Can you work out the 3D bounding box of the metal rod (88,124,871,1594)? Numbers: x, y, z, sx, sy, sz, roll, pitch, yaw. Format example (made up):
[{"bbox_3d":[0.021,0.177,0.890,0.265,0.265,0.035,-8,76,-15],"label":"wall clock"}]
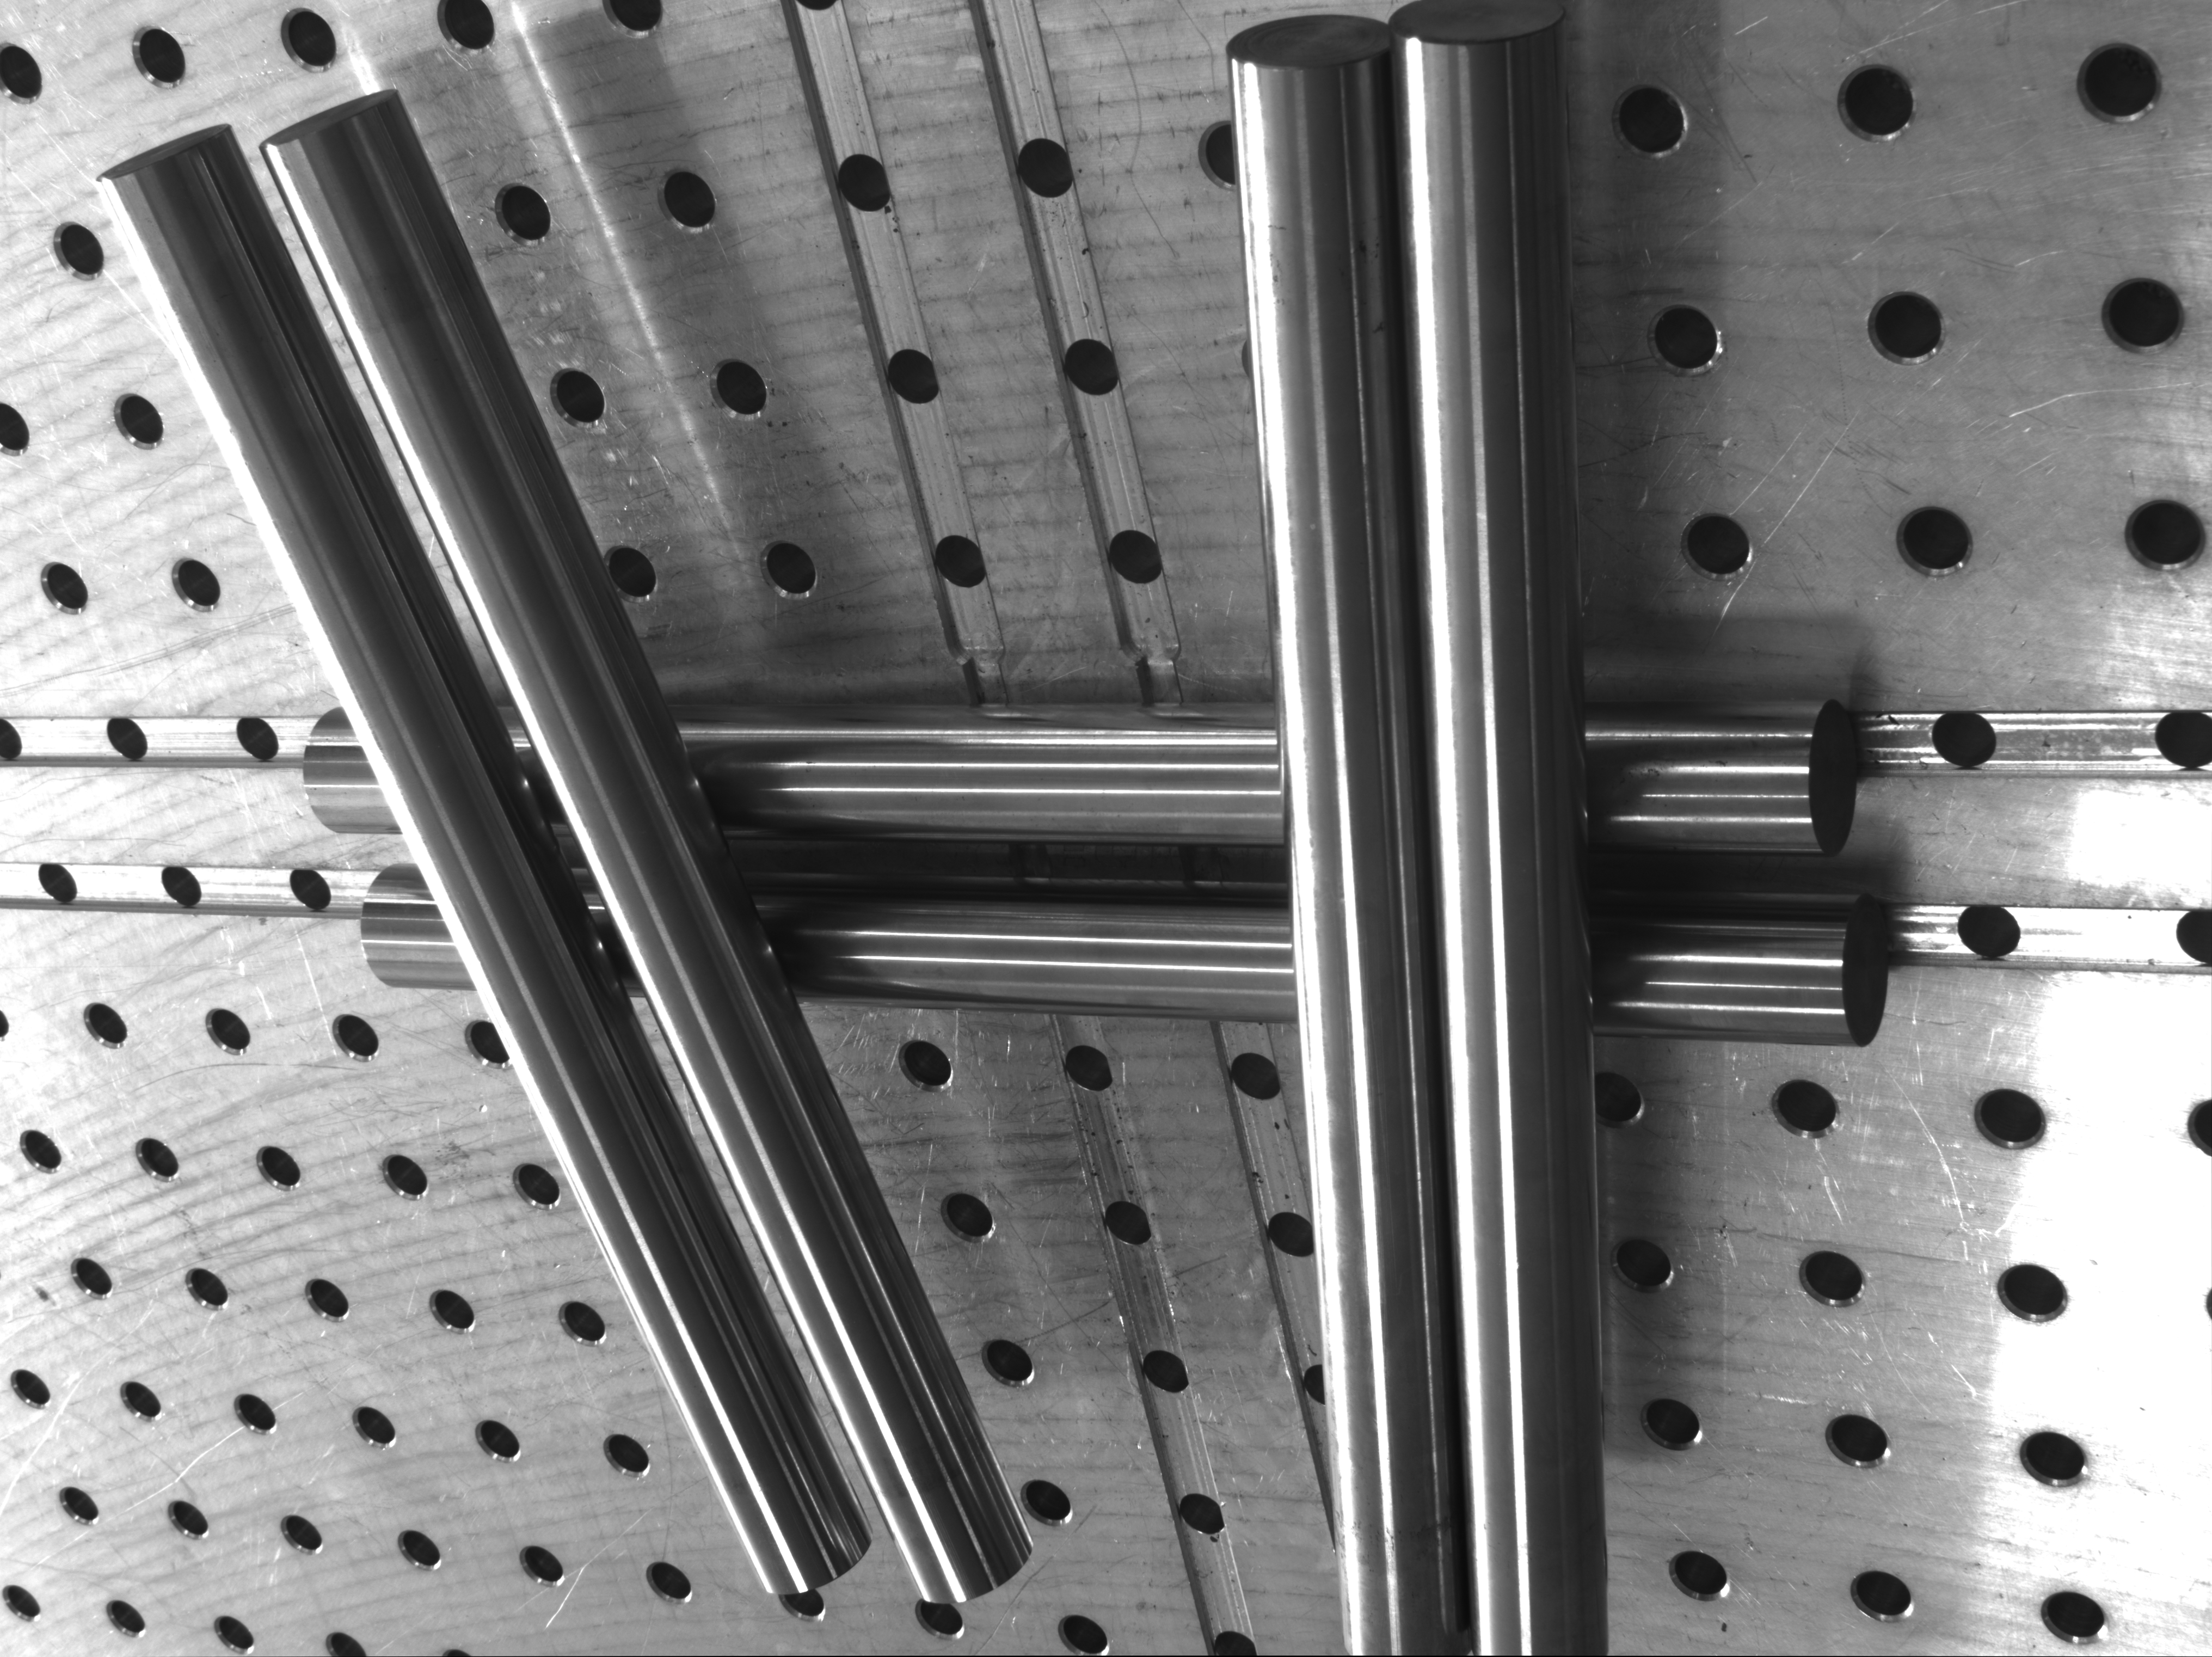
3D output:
[{"bbox_3d":[-0.111,0.015,0.683,0.025,0.025,0.300,-8,114,32],"label":"metal rod"}]

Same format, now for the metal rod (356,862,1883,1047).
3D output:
[{"bbox_3d":[-0.010,0.021,0.665,0.299,0.025,0.025,1,119,28],"label":"metal rod"}]

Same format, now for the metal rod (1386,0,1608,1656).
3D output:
[{"bbox_3d":[0.065,0.016,0.590,0.025,0.025,0.300,9,122,24],"label":"metal rod"}]

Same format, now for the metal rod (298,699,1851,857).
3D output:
[{"bbox_3d":[-0.018,-0.010,0.651,0.299,0.025,0.025,1,119,28],"label":"metal rod"}]

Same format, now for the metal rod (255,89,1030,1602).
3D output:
[{"bbox_3d":[-0.078,0.012,0.664,0.025,0.025,0.300,-8,114,32],"label":"metal rod"}]

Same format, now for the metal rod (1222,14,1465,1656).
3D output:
[{"bbox_3d":[0.042,0.017,0.603,0.025,0.025,0.300,9,122,24],"label":"metal rod"}]
